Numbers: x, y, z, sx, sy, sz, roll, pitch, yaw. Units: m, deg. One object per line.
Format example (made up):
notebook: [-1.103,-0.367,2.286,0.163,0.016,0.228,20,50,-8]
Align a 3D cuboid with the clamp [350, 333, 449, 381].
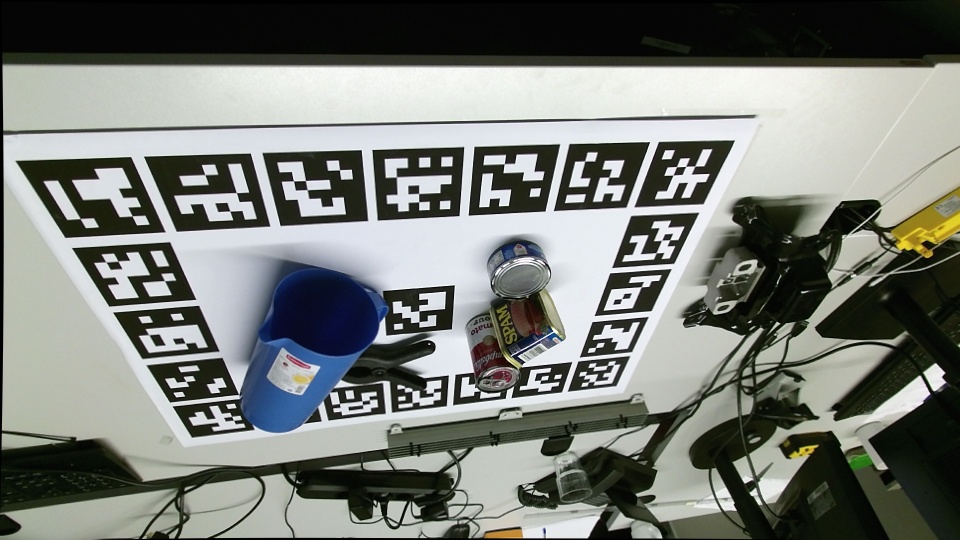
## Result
clamp: [-0.136,0.145,0.866,0.166,0.036,0.122,-1,137,-10]

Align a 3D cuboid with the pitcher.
pitcher: [-0.227,0.115,0.726,0.189,0.133,0.243,-6,146,-41]

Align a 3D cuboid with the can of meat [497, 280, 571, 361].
can of meat: [0.082,0.069,0.786,0.084,0.101,0.058,-33,132,12]

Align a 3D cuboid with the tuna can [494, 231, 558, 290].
tuna can: [0.063,-0.013,0.753,0.086,0.033,0.086,-8,133,-8]

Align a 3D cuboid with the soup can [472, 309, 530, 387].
soup can: [0.030,0.119,0.827,0.068,0.101,0.068,-9,133,-10]
